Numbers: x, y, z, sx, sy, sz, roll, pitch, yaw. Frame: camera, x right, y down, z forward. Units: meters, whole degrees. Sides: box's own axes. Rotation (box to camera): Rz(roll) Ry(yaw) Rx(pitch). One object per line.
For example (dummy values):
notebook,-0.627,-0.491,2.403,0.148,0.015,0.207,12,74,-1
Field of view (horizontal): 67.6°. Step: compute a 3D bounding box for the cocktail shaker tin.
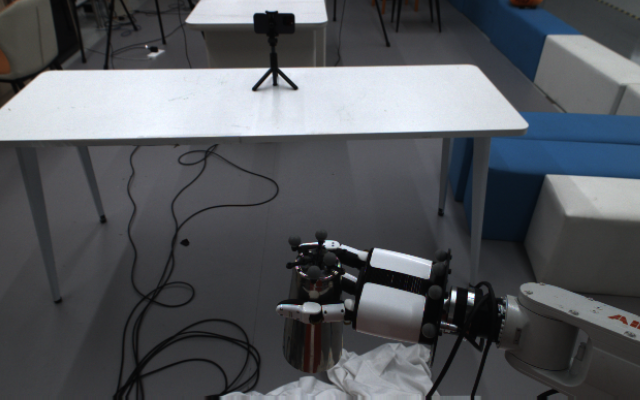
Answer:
cocktail shaker tin,-0.005,0.153,0.699,0.093,0.170,0.093,2,33,-2
